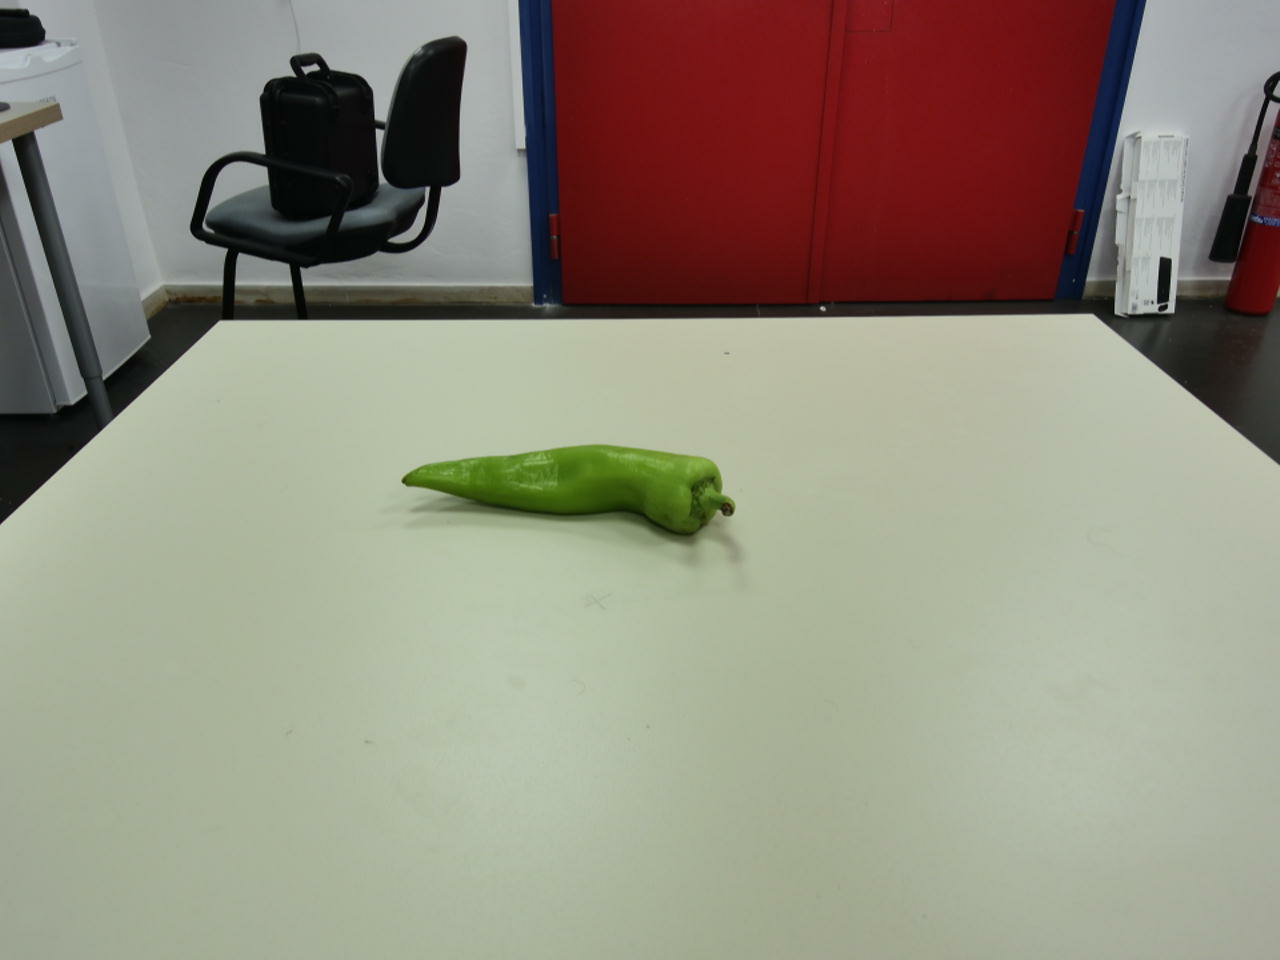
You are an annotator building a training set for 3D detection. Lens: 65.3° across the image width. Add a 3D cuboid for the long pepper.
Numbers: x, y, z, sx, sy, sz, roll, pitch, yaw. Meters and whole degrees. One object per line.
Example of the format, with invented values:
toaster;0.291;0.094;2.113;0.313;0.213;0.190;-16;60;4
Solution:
long pepper;-0.038;0.001;0.600;0.205;0.045;0.065;8;27;14
